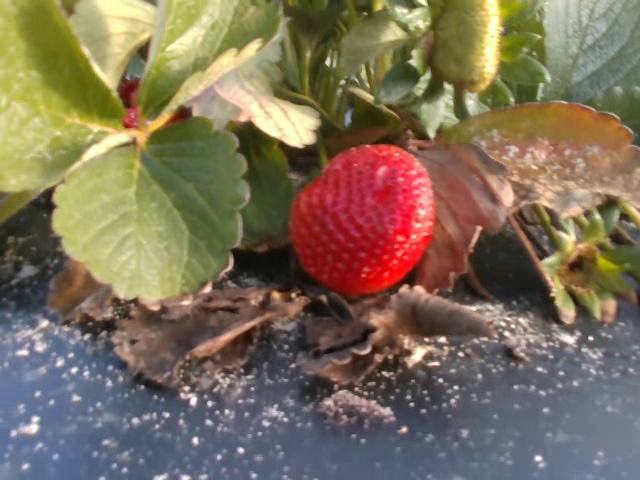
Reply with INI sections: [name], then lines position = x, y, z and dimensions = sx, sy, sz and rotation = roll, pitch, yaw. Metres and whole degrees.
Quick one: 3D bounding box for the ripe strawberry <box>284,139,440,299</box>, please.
[ripe strawberry]
position = 0.008, -0.003, 0.105
dimensions = 0.031, 0.026, 0.030
rotation = -15, 17, -18
